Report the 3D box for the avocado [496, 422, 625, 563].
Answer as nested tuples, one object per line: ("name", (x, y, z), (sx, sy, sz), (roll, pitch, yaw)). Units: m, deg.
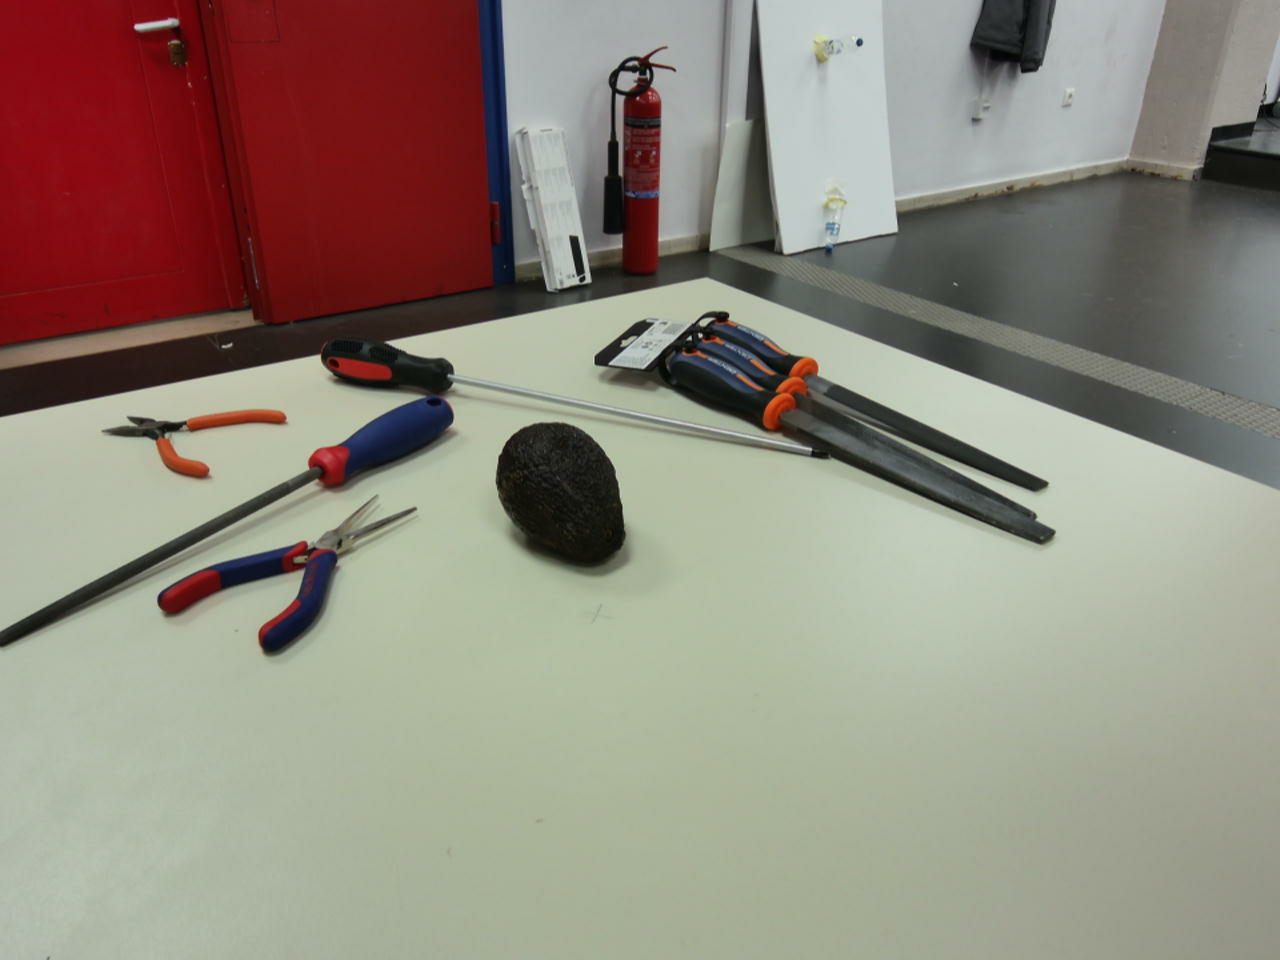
("avocado", (-0.047, 0.005, 0.577), (0.070, 0.069, 0.090), (-4, 26, -10))
